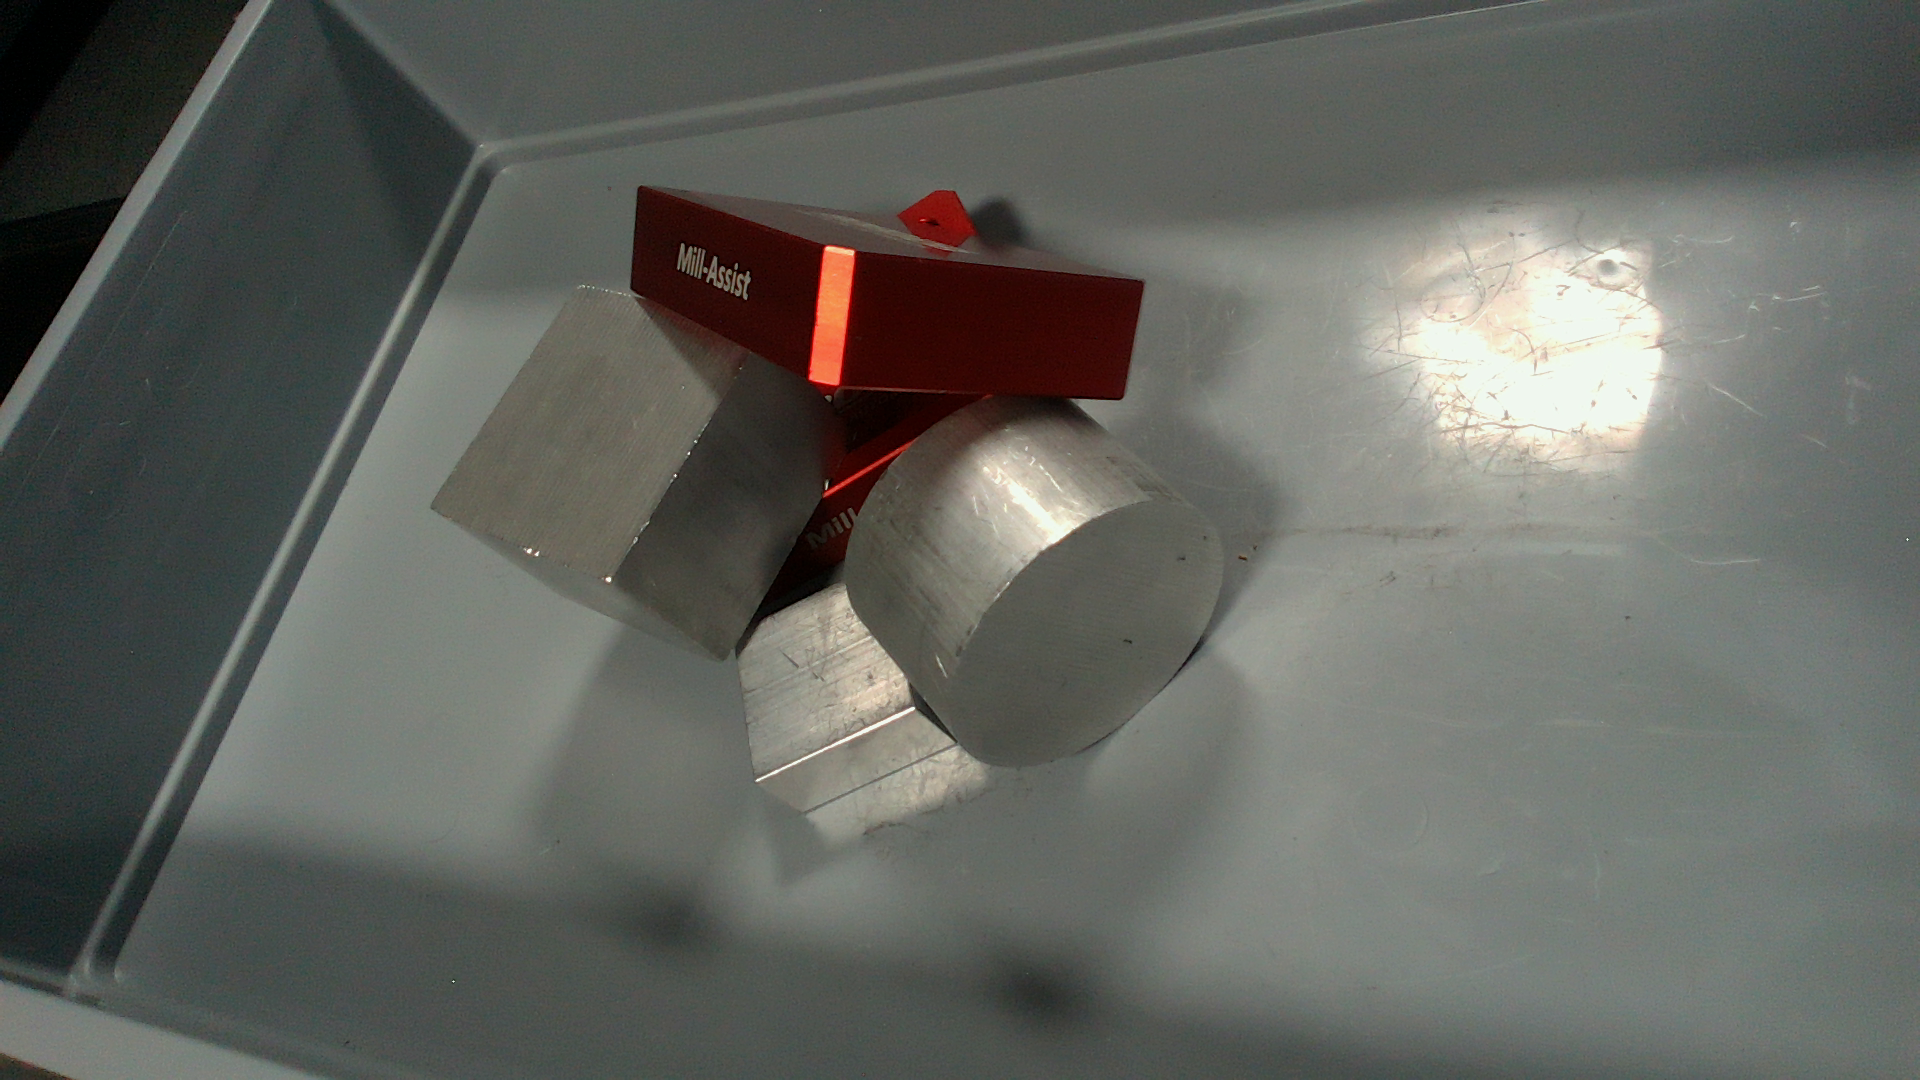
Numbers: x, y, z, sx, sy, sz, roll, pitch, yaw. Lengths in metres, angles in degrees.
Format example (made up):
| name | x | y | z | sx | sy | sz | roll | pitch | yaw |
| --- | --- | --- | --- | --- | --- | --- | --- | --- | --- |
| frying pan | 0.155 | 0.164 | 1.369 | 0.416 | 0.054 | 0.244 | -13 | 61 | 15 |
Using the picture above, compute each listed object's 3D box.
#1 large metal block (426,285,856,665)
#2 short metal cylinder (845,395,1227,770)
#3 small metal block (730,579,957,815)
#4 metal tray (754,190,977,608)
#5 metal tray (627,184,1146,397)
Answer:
| name | x | y | z | sx | sy | sz | roll | pitch | yaw |
| --- | --- | --- | --- | --- | --- | --- | --- | --- | --- |
| large metal block | -0.091 | -0.021 | 0.397 | 0.080 | 0.050 | 0.080 | 17 | 71 | 35 |
| short metal cylinder | 0.019 | 0.010 | 0.341 | 0.080 | 0.080 | 0.050 | -43 | 51 | -1 |
| small metal block | -0.034 | 0.041 | 0.385 | 0.050 | 0.025 | 0.050 | -26 | 52 | 12 |
| metal tray | -0.039 | -0.044 | 0.437 | 0.130 | 0.030 | 0.090 | -30 | 52 | 9 |
| metal tray | -0.025 | -0.069 | 0.368 | 0.130 | 0.090 | 0.030 | 31 | 117 | 53 |
